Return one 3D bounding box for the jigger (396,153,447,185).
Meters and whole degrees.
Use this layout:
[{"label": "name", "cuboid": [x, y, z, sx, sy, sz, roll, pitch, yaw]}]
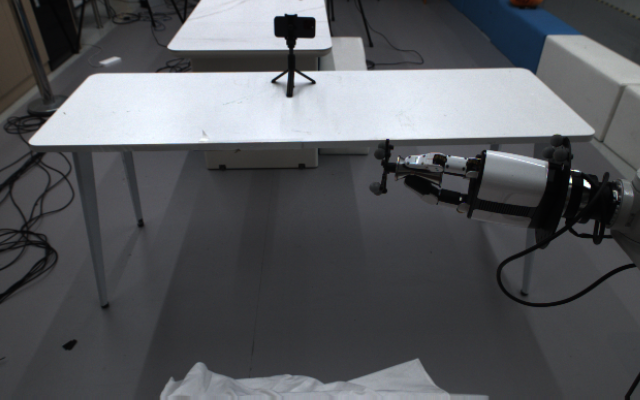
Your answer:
[{"label": "jigger", "cuboid": [0.156, -0.048, 0.727, 0.071, 0.043, 0.043, 7, 35, 13]}]
